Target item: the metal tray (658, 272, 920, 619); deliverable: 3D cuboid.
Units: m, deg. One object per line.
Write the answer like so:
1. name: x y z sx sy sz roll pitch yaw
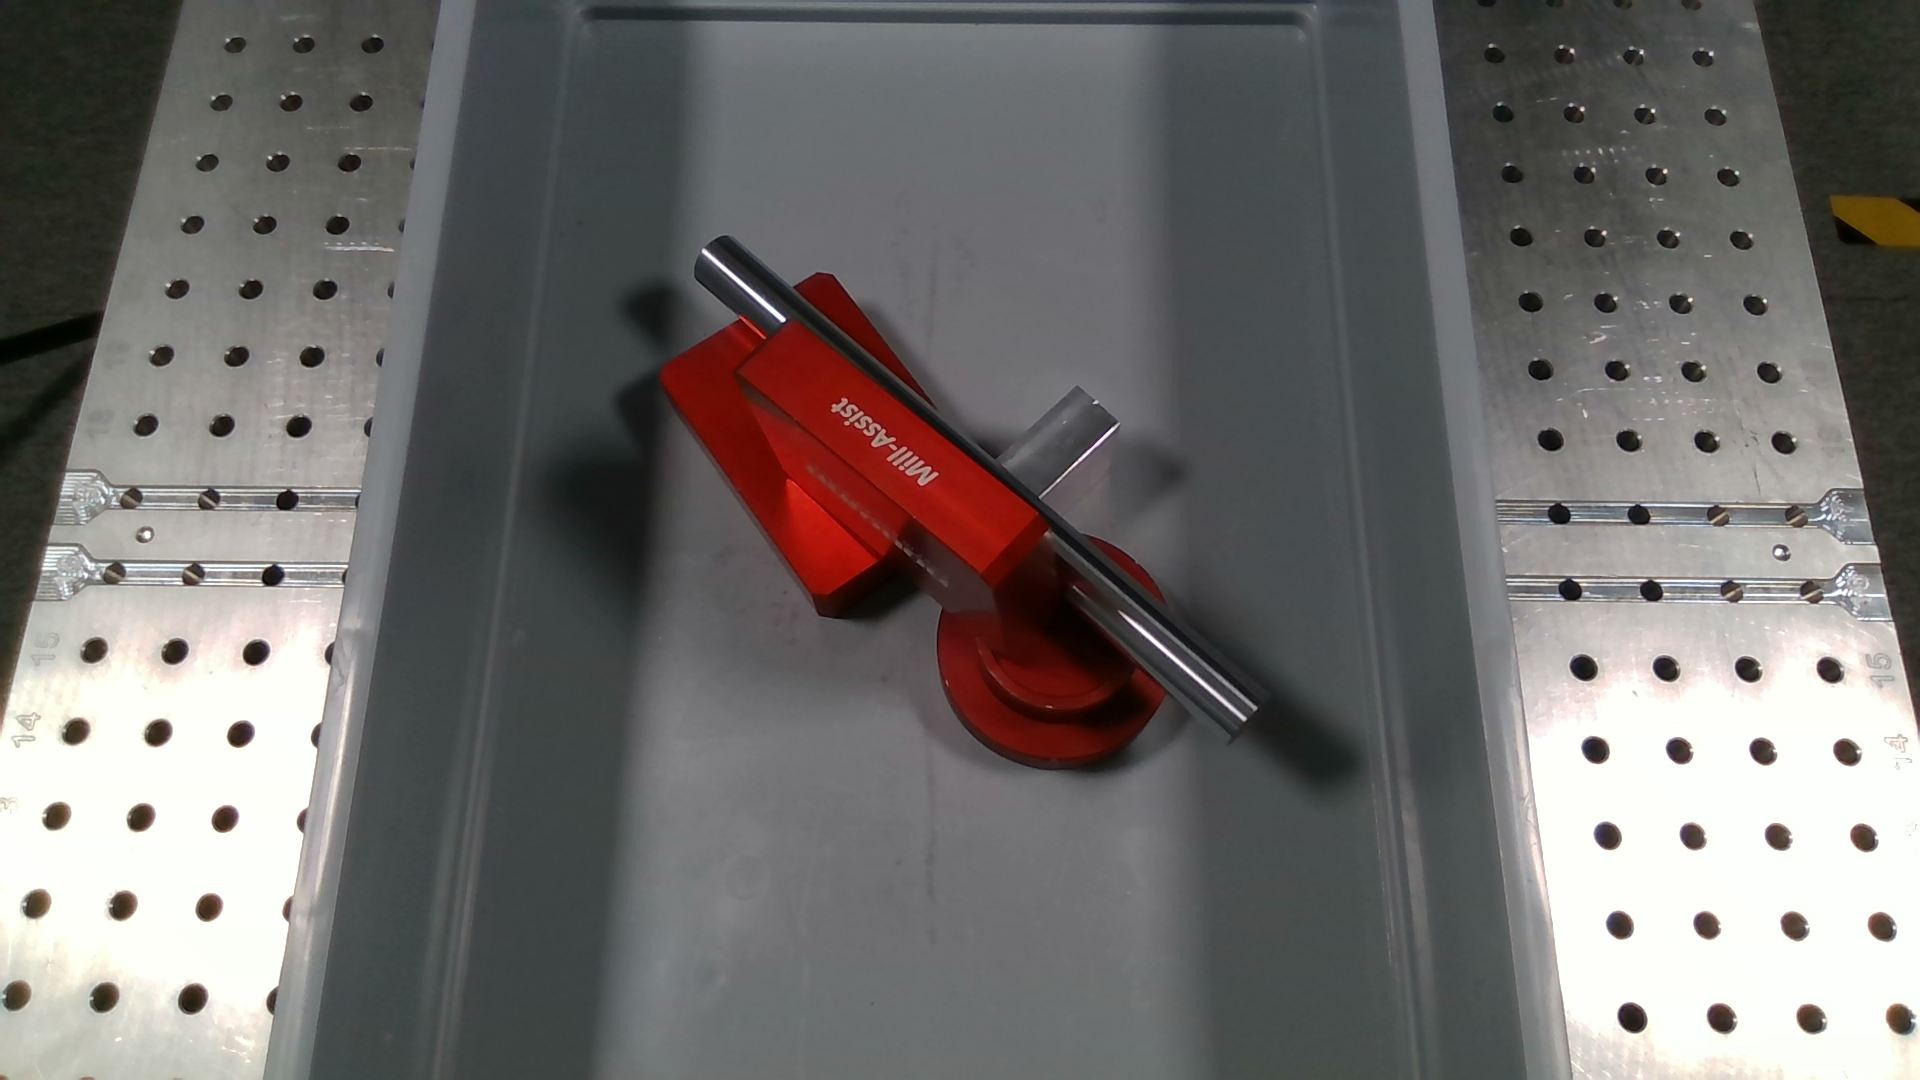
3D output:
1. metal tray: -0.059 -0.043 0.600 0.090 0.030 0.130 -33 74 -11

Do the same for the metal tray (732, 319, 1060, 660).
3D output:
1. metal tray: -0.022 -0.017 0.518 0.130 0.090 0.030 40 77 20

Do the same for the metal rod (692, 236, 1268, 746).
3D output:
1. metal rod: 0.000 -0.027 0.555 0.300 0.025 0.025 42 75 18

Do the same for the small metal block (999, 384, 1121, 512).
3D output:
1. small metal block: 0.040 -0.031 0.585 0.050 0.050 0.025 -43 76 -14

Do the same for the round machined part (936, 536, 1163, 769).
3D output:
1. round machined part: 0.039 0.041 0.563 0.098 0.042 0.098 0 70 0
